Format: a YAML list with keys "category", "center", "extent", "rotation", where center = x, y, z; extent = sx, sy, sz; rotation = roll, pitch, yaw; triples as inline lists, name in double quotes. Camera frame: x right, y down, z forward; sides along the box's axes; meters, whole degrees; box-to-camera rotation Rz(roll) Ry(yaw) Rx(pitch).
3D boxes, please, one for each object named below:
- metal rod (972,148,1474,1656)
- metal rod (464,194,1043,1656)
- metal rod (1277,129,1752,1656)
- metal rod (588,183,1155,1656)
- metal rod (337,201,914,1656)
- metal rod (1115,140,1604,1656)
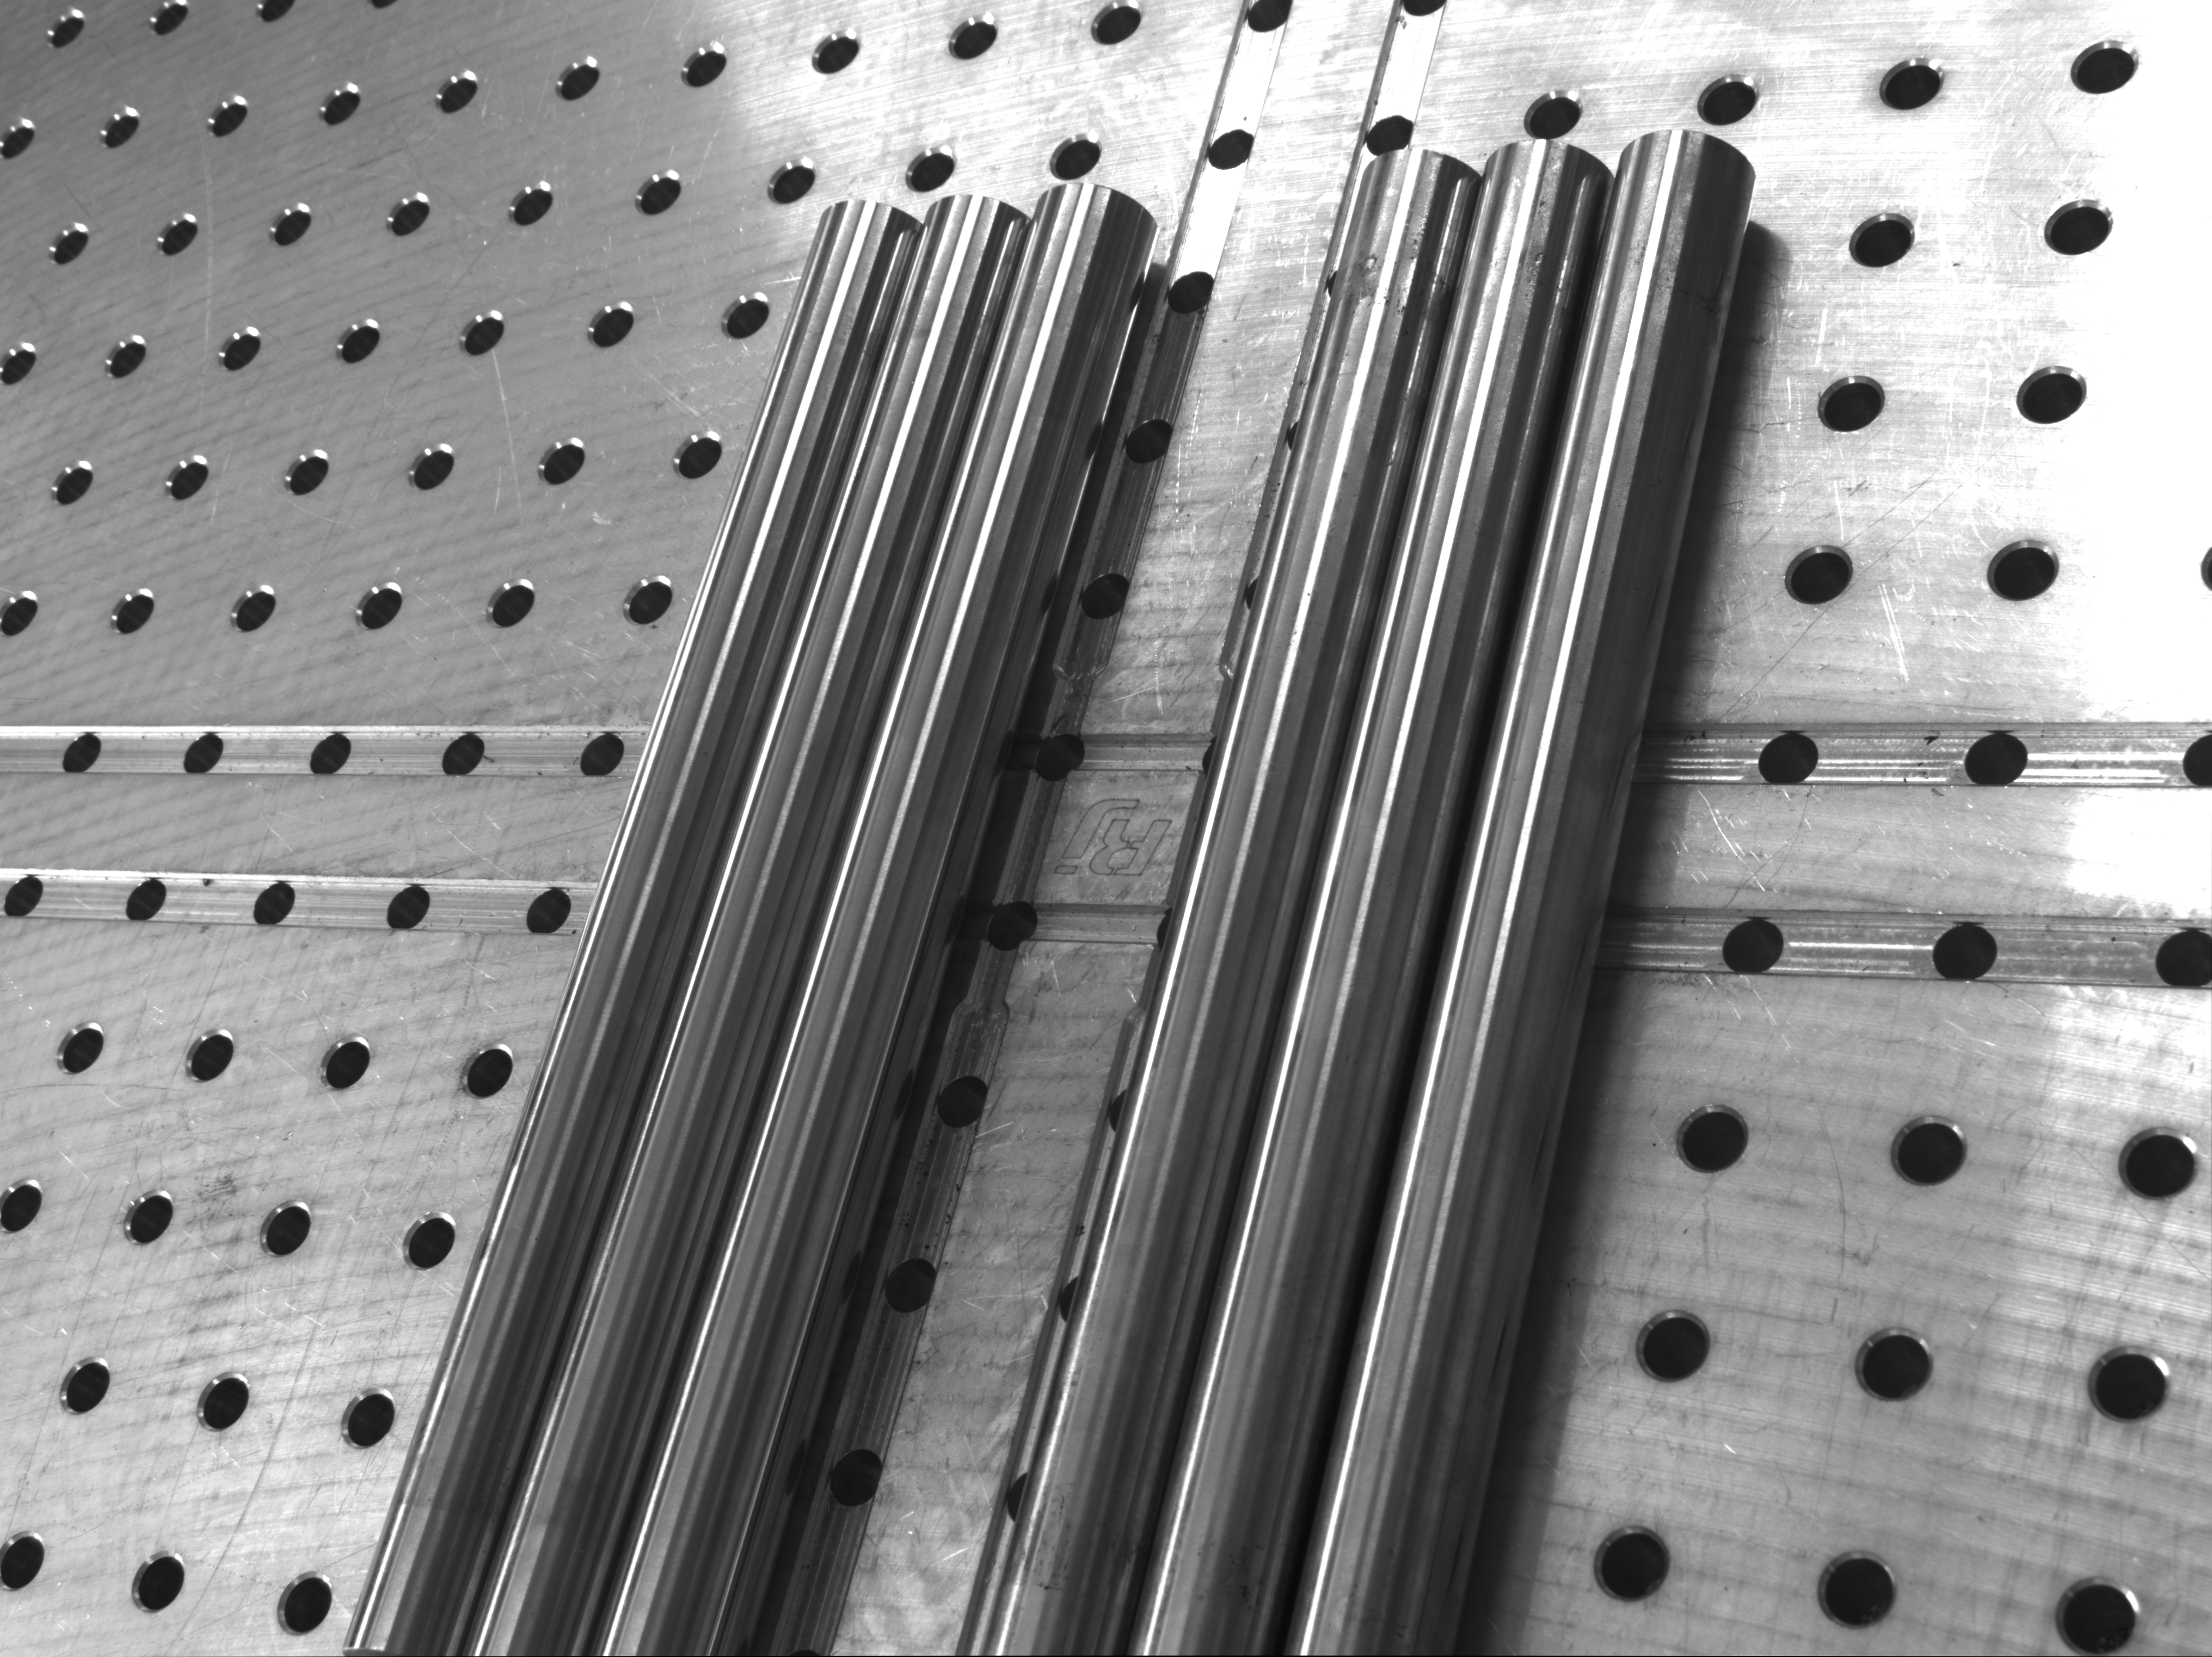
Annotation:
- category: "metal rod"
  center: [0.024, 0.012, 0.628]
  extent: [0.025, 0.025, 0.300]
  rotation: [1, 62, 29]
- category: "metal rod"
  center: [-0.060, 0.013, 0.673]
  extent: [0.025, 0.025, 0.300]
  rotation: [1, 62, 29]
- category: "metal rod"
  center: [0.069, 0.013, 0.603]
  extent: [0.025, 0.025, 0.300]
  rotation: [1, 62, 29]
- category: "metal rod"
  center: [-0.038, 0.013, 0.661]
  extent: [0.025, 0.025, 0.300]
  rotation: [1, 62, 29]
- category: "metal rod"
  center: [-0.083, 0.012, 0.686]
  extent: [0.025, 0.025, 0.300]
  rotation: [1, 62, 29]
- category: "metal rod"
  center: [0.045, 0.013, 0.616]
  extent: [0.025, 0.025, 0.300]
  rotation: [1, 62, 29]
